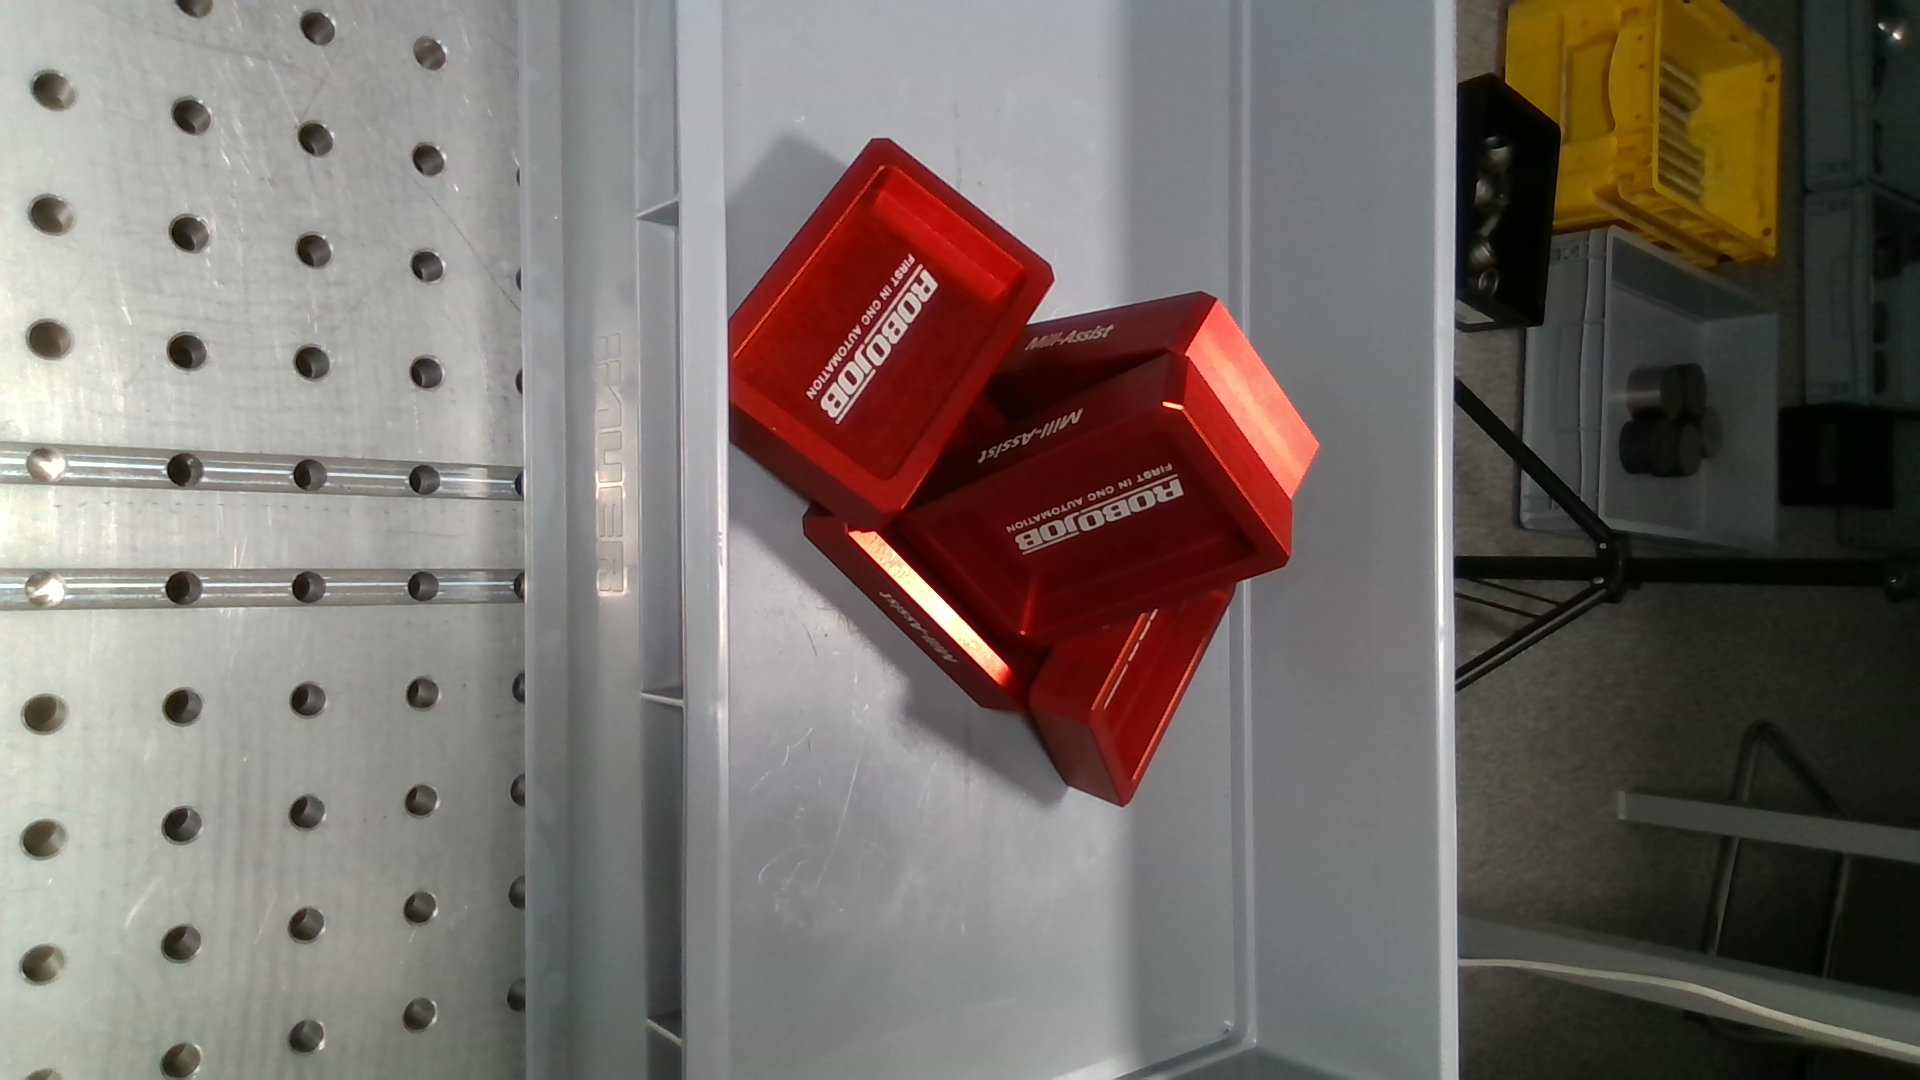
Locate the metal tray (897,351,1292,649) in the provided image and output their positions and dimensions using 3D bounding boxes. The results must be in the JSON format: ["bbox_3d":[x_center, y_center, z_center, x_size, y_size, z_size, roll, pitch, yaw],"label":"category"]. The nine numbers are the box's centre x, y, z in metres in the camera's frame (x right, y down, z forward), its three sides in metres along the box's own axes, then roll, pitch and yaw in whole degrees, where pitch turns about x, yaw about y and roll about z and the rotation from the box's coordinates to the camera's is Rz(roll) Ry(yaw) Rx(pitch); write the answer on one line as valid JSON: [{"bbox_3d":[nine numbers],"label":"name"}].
[{"bbox_3d":[0.052,-0.011,0.541,0.090,0.130,0.030,48,38,-30],"label":"metal tray"}]

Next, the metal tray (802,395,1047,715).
[{"bbox_3d":[0.004,0.002,0.581,0.130,0.030,0.090,47,62,-30],"label":"metal tray"}]

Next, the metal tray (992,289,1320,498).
[{"bbox_3d":[0.071,-0.052,0.571,0.090,0.130,0.030,47,61,-30],"label":"metal tray"}]

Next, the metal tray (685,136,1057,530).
[{"bbox_3d":[-0.032,-0.081,0.529,0.090,0.030,0.130,36,66,-8],"label":"metal tray"}]

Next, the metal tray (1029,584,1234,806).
[{"bbox_3d":[0.082,0.044,0.625,0.130,0.030,0.090,-58,149,-24],"label":"metal tray"}]
